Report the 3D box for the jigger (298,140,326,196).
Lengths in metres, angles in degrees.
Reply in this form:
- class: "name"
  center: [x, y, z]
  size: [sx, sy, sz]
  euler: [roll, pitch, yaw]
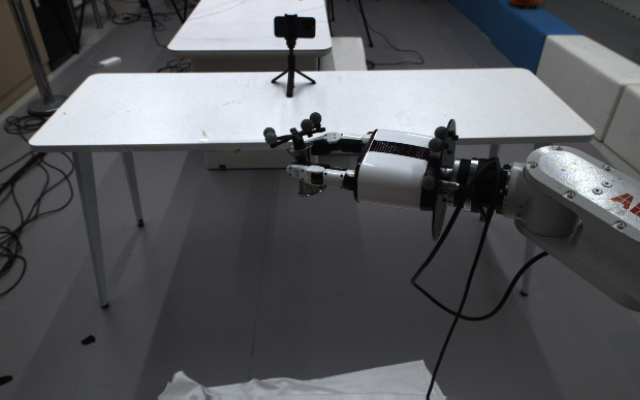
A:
- class: "jigger"
  center: [-0.019, -0.045, 0.695]
  size: [0.043, 0.071, 0.043]
  euler: [-14, 21, 6]
